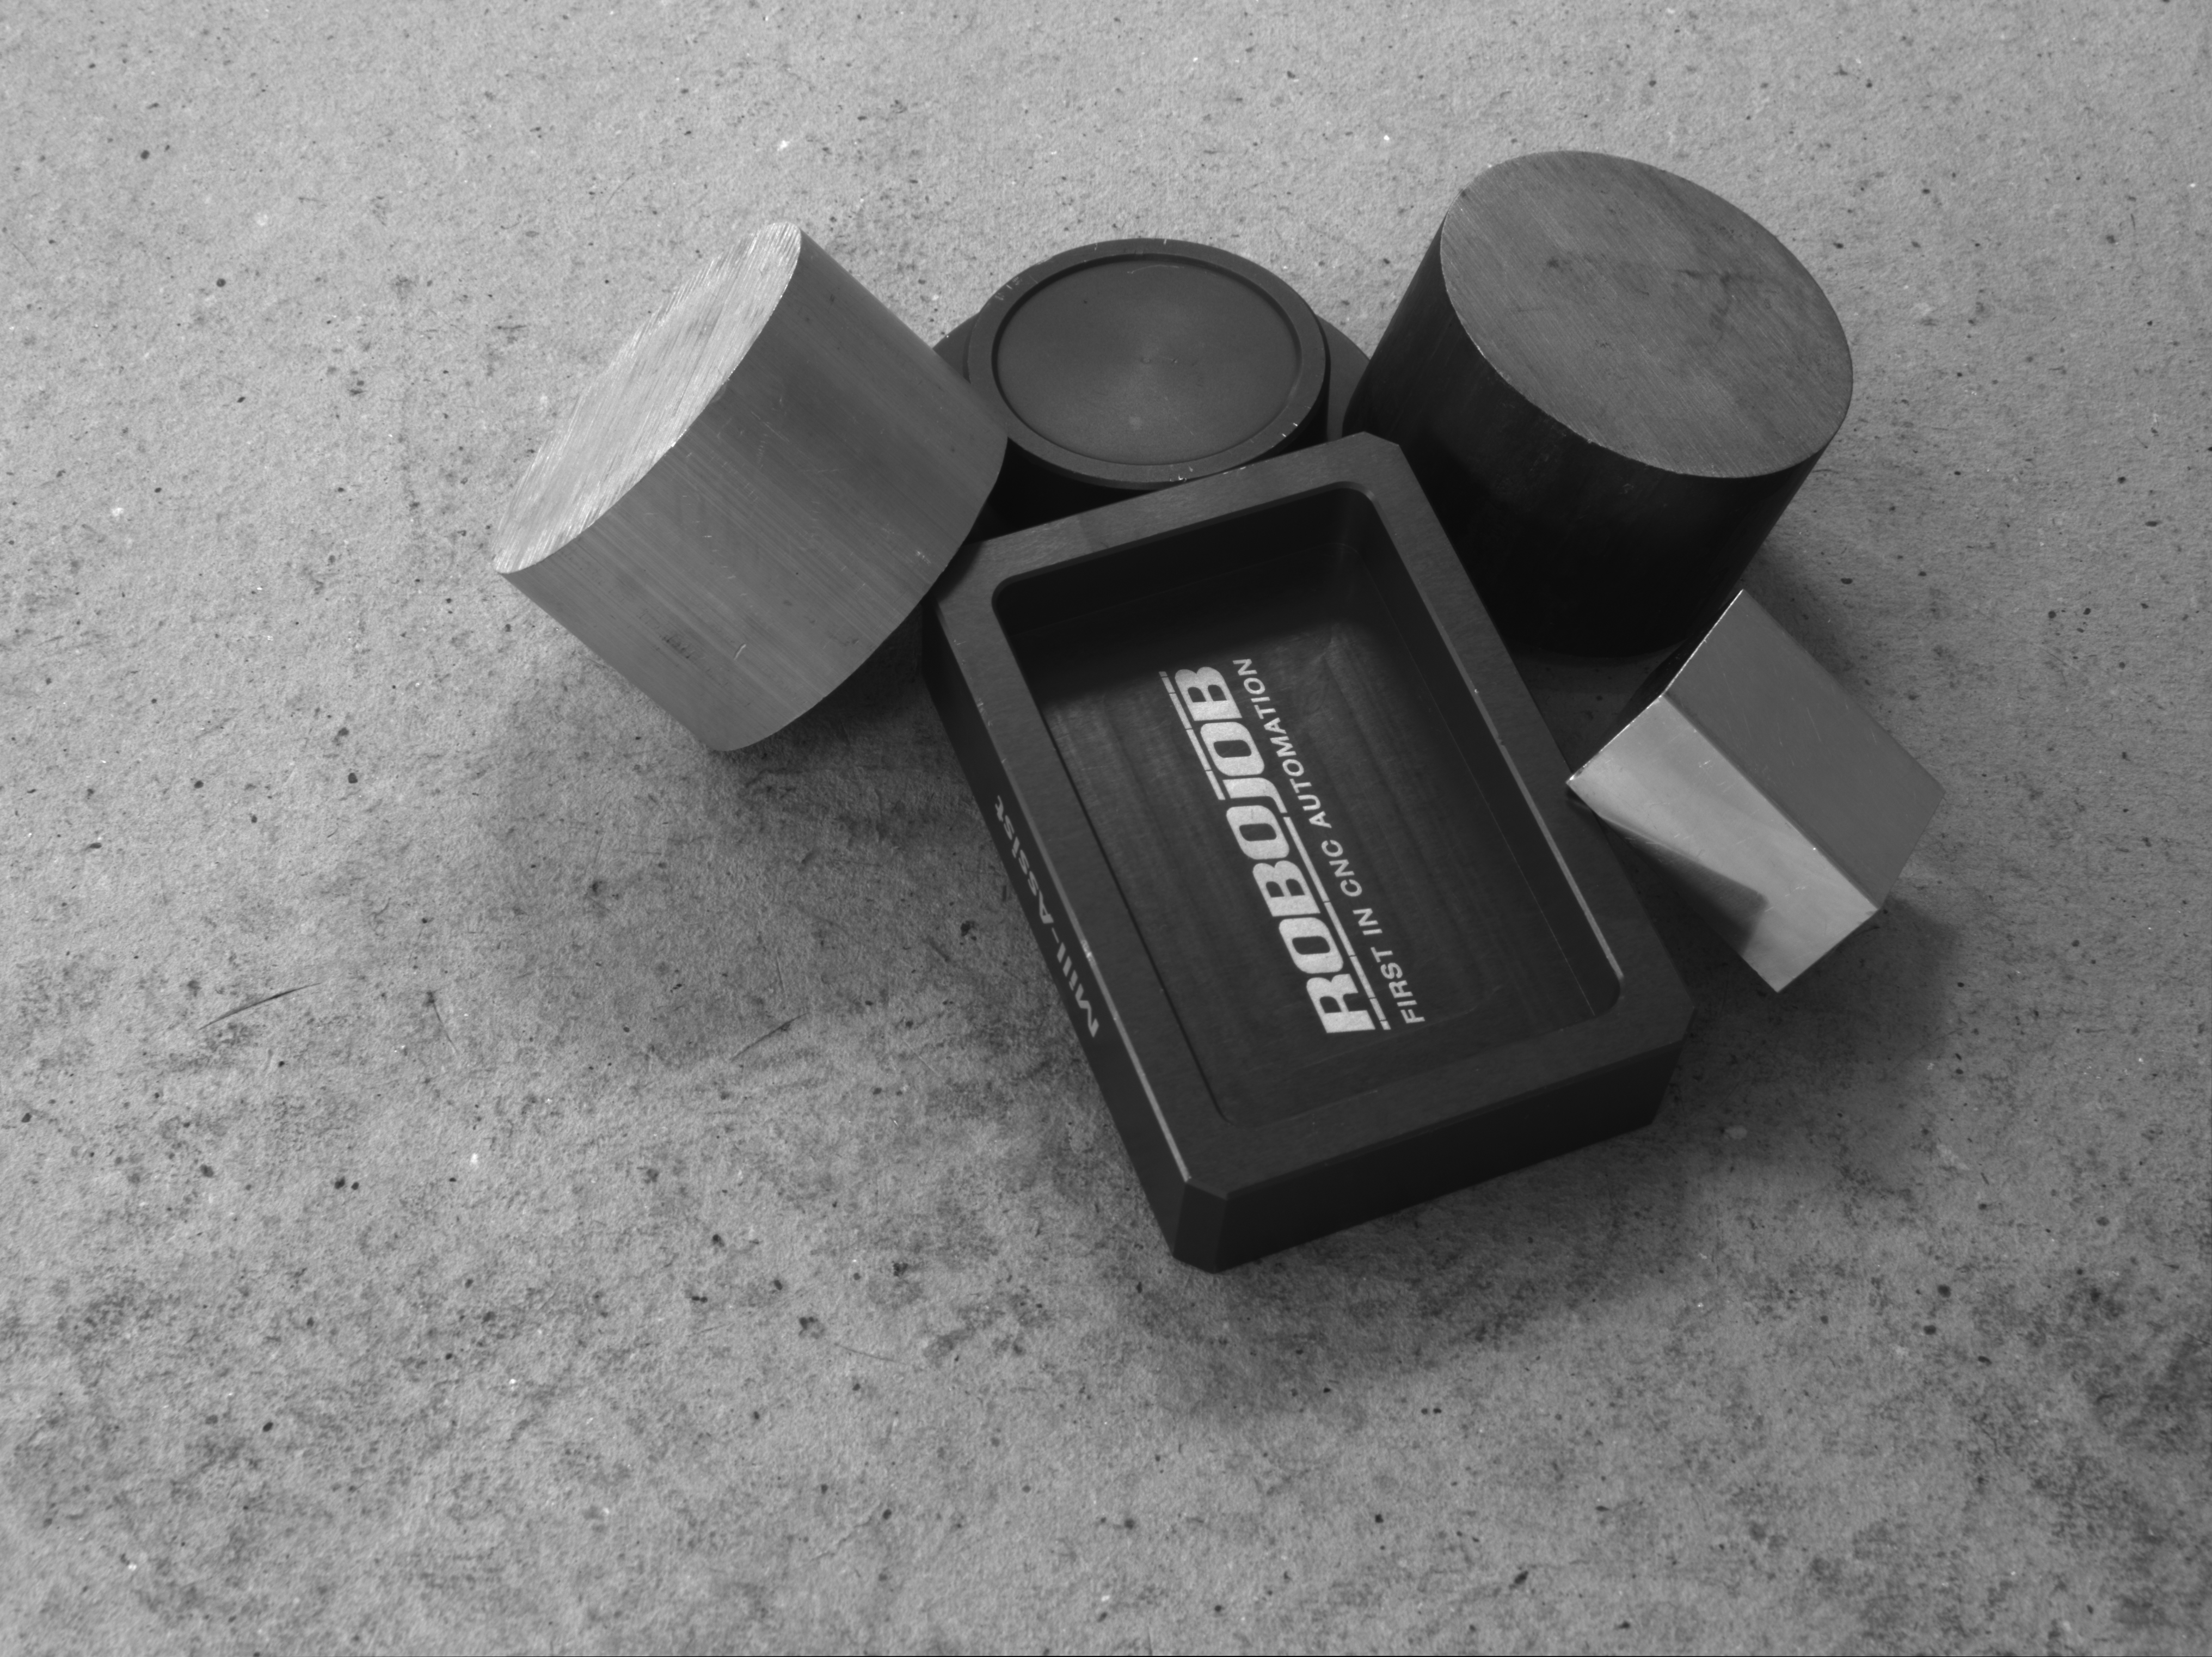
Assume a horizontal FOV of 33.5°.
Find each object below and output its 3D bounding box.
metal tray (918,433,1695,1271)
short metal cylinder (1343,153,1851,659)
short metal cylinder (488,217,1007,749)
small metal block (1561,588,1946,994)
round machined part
[{"bbox_3d":[0.031,0.001,0.624,0.090,0.030,0.130,-17,61,-14],"label":"metal tray"},{"bbox_3d":[0.090,-0.078,0.679,0.080,0.050,0.080,11,50,-14],"label":"short metal cylinder"},{"bbox_3d":[-0.064,-0.061,0.650,0.050,0.080,0.080,41,48,-23],"label":"short metal cylinder"},{"bbox_3d":[0.111,-0.007,0.626,0.050,0.025,0.050,45,34,1],"label":"small metal block"},{"bbox_3d":[0.007,-0.074,0.695,0.098,0.042,0.098,0,50,0],"label":"round machined part"}]
